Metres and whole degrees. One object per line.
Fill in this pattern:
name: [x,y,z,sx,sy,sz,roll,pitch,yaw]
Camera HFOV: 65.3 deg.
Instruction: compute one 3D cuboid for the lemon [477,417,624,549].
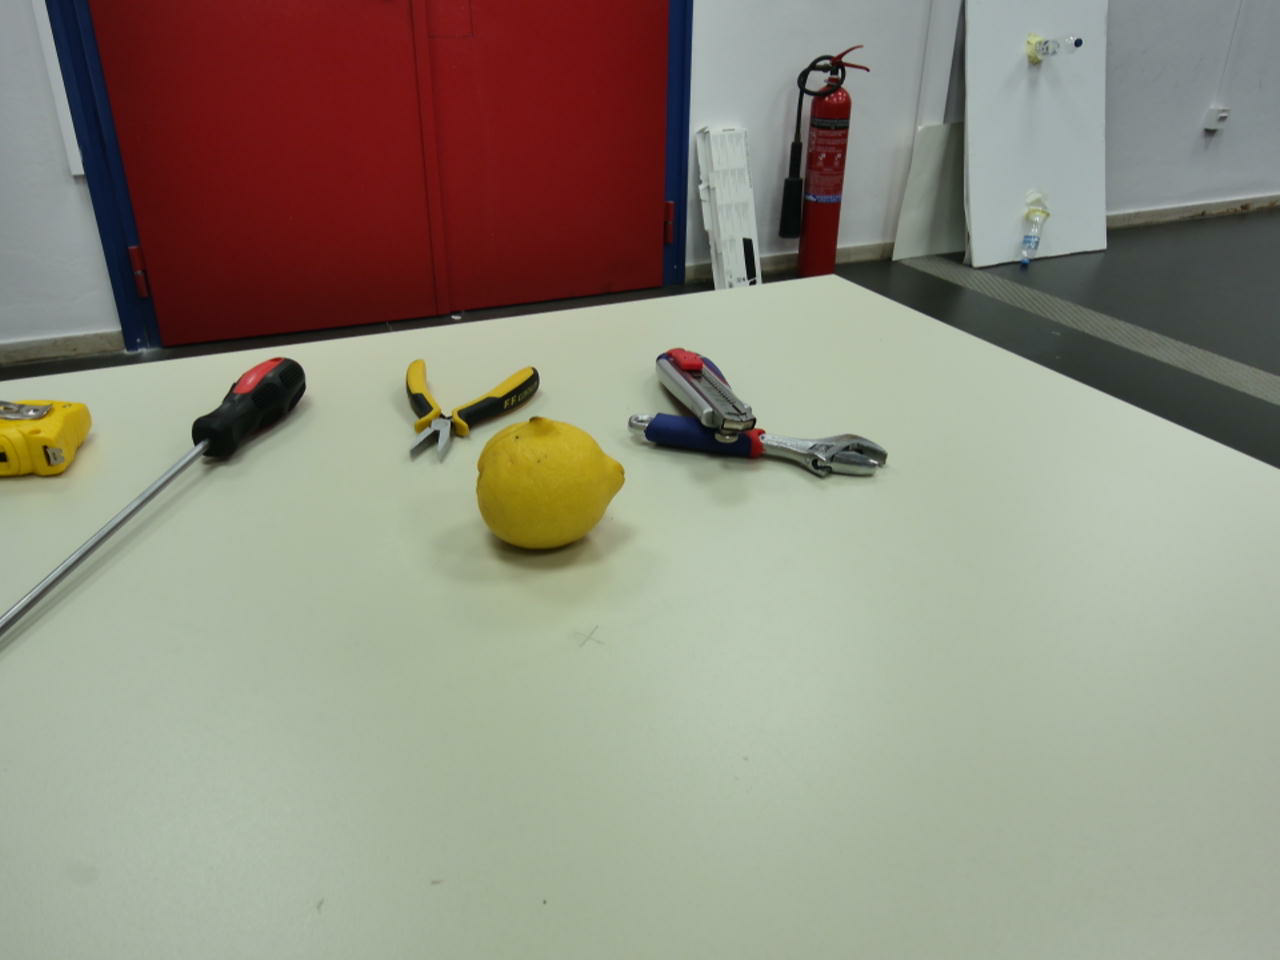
lemon: [-0.051,-0.002,0.517,0.071,0.071,0.070,15,29,27]
